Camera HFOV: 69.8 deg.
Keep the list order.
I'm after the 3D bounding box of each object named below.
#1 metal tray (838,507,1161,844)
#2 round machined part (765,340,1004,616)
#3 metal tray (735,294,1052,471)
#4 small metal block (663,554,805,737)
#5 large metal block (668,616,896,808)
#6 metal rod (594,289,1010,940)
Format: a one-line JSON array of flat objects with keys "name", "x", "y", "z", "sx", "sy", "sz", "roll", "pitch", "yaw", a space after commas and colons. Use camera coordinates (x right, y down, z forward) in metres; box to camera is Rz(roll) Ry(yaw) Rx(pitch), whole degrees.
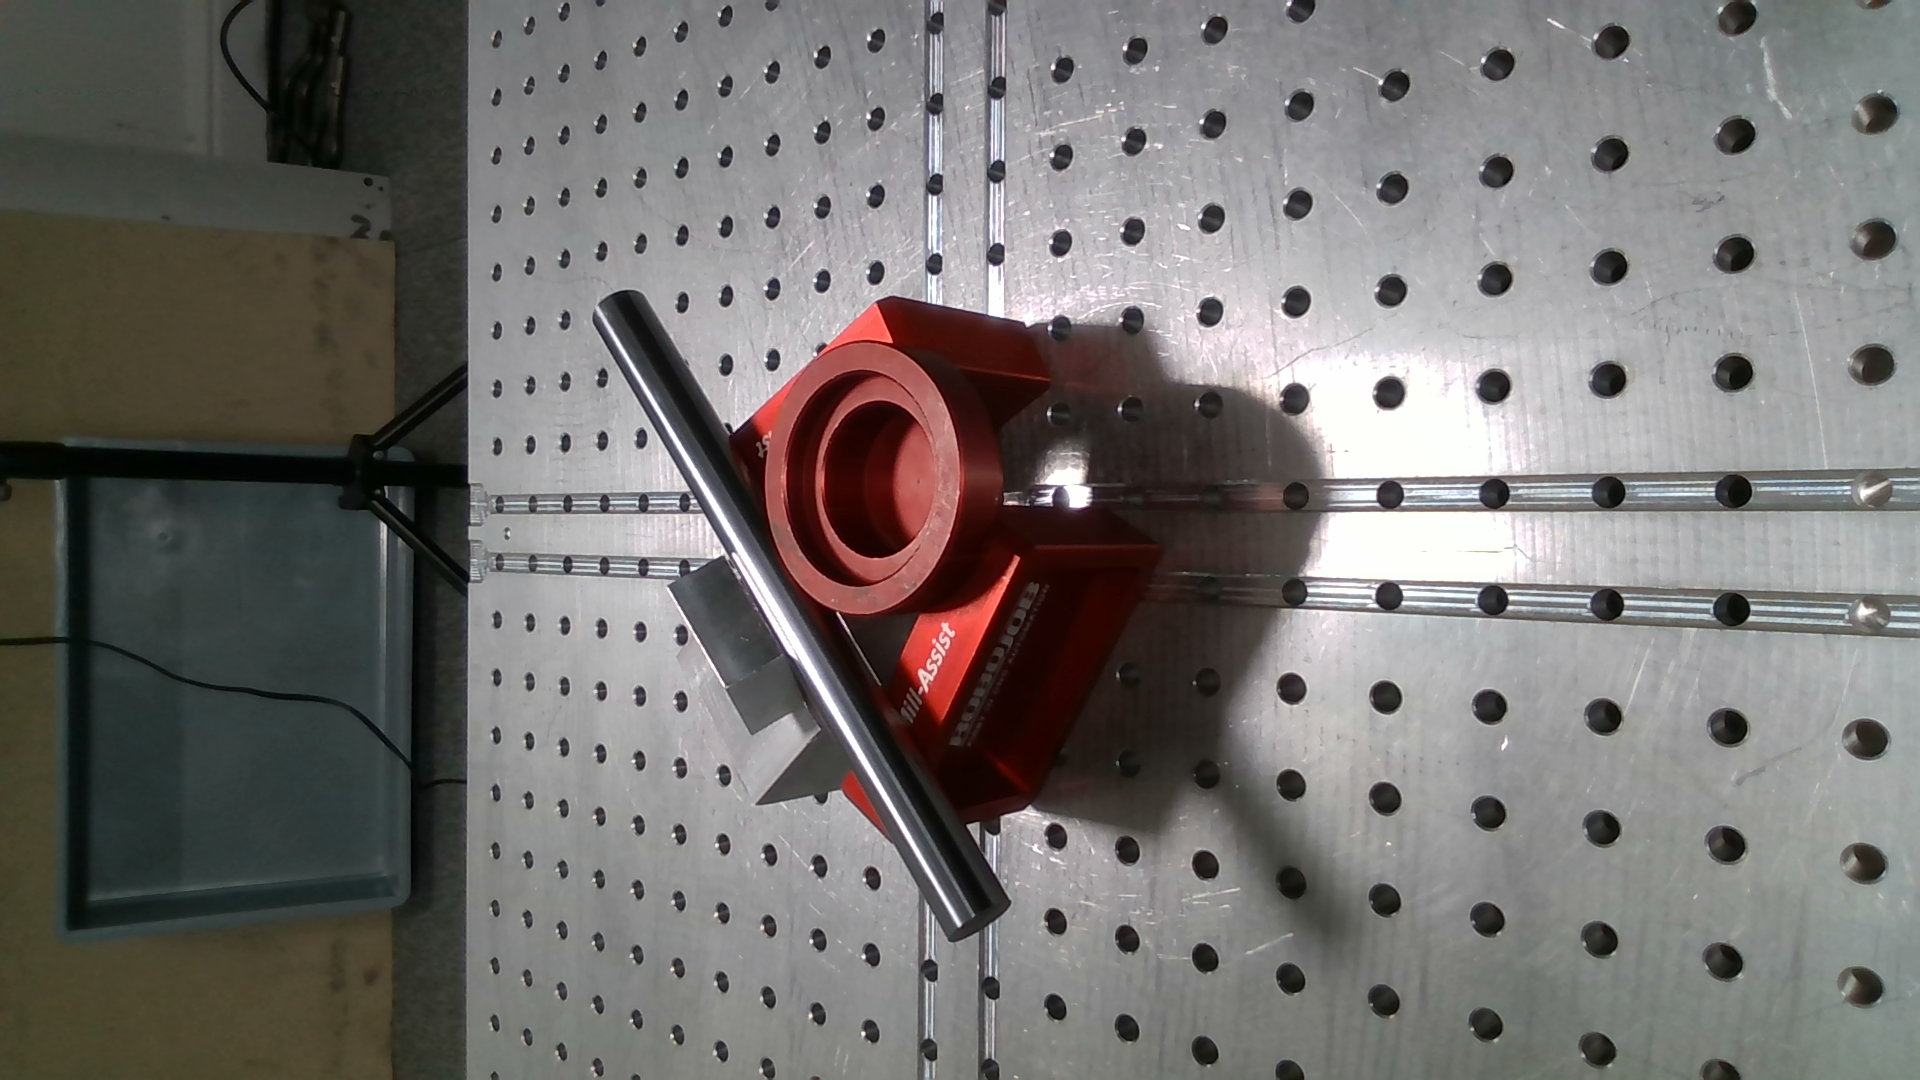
[{"name": "metal tray", "x": 0.016, "y": 0.051, "z": 0.528, "sx": 0.030, "sy": 0.090, "sz": 0.130, "roll": 39, "pitch": 114, "yaw": 34}, {"name": "round machined part", "x": -0.023, "y": -0.022, "z": 0.503, "sx": 0.098, "sy": 0.042, "sz": 0.098, "roll": 0, "pitch": 91, "yaw": 40}, {"name": "metal tray", "x": -0.037, "y": -0.047, "z": 0.573, "sx": 0.130, "sy": 0.090, "sz": 0.030, "roll": -36, "pitch": 68, "yaw": 35}, {"name": "small metal block", "x": -0.087, "y": 0.042, "z": 0.536, "sx": 0.025, "sy": 0.050, "sz": 0.050, "roll": -30, "pitch": 64, "yaw": -11}, {"name": "large metal block", "x": -0.067, "y": 0.064, "z": 0.602, "sx": 0.050, "sy": 0.080, "sz": 0.080, "roll": -49, "pitch": 61, "yaw": 29}, {"name": "metal rod", "x": -0.070, "y": 0.015, "z": 0.526, "sx": 0.025, "sy": 0.025, "sz": 0.299, "roll": -49, "pitch": 61, "yaw": 29}]
